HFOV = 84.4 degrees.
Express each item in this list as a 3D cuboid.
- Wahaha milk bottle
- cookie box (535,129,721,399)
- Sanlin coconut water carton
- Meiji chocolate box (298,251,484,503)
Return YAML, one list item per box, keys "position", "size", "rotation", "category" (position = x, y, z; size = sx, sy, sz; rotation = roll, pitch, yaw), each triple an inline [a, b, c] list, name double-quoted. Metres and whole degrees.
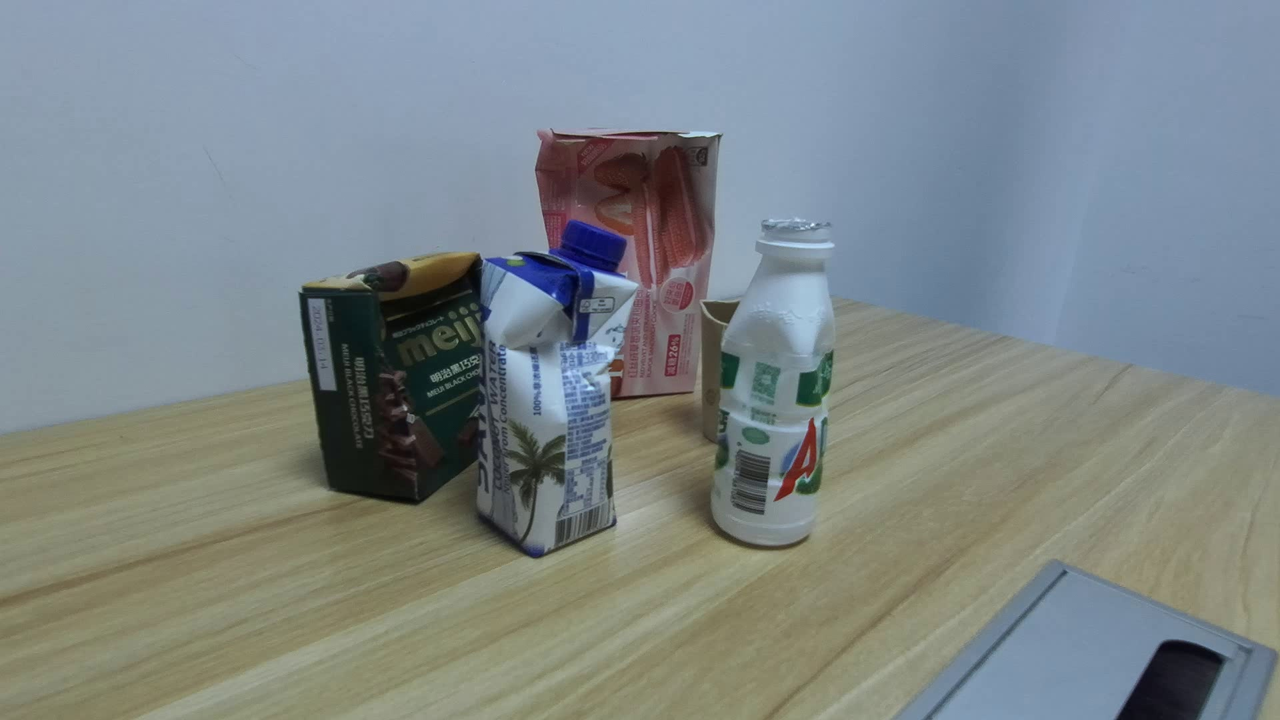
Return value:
- position: [0.063, 0.011, 0.332]
  size: [0.055, 0.149, 0.055]
  rotation: [4, 13, -1]
  category: "Wahaha milk bottle"
- position: [-0.010, -0.064, 0.493]
  size: [0.119, 0.184, 0.055]
  rotation: [-3, 17, -11]
  category: "cookie box"
- position: [-0.039, 0.012, 0.328]
  size: [0.070, 0.143, 0.060]
  rotation: [-9, 20, -40]
  category: "Sanlin coconut water carton"
- position: [-0.127, 0.005, 0.393]
  size: [0.058, 0.110, 0.113]
  rotation: [1, 17, 9]
  category: "Meiji chocolate box"
